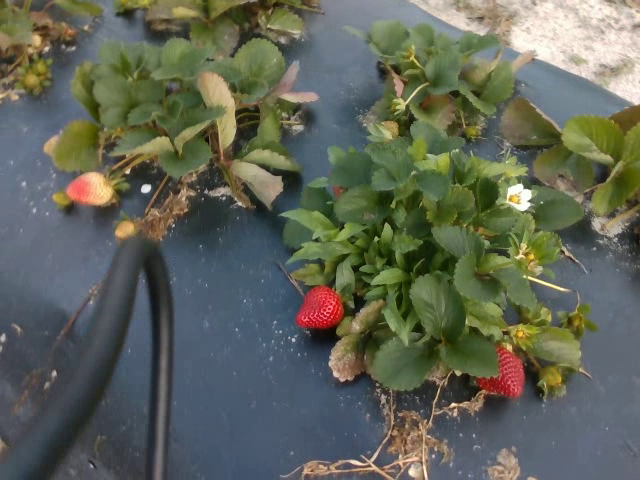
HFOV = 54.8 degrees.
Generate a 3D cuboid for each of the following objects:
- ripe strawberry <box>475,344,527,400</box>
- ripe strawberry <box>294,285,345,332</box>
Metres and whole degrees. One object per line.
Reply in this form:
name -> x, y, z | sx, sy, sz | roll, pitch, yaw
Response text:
ripe strawberry -> 0.149, 0.110, 0.497 | 0.043, 0.047, 0.046 | -31, 37, 1
ripe strawberry -> -0.003, 0.064, 0.532 | 0.050, 0.043, 0.043 | -34, -26, -28
